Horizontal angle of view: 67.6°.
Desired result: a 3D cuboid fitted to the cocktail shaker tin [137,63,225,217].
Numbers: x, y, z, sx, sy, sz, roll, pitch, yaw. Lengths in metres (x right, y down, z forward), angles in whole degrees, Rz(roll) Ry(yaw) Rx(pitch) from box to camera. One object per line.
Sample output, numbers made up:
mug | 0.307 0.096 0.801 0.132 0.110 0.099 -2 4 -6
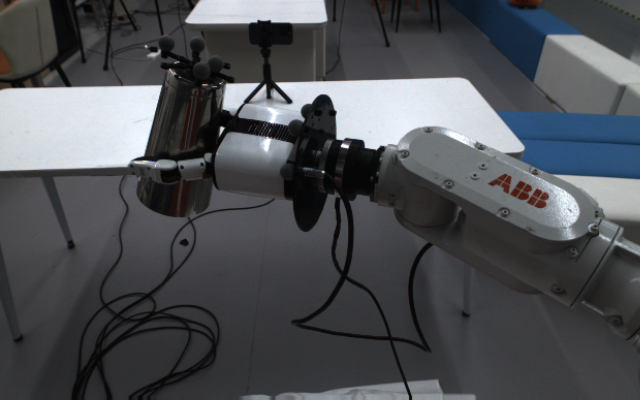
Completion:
cocktail shaker tin | -0.162 -0.076 0.582 0.093 0.170 0.093 16 31 -10
